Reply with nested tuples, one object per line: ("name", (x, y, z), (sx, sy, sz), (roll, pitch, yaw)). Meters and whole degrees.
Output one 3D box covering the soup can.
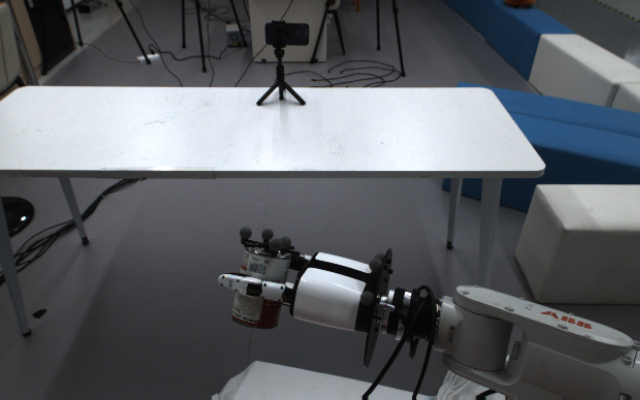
("soup can", (-0.080, 0.120, 0.673), (0.067, 0.101, 0.067), (12, 2, 0))
